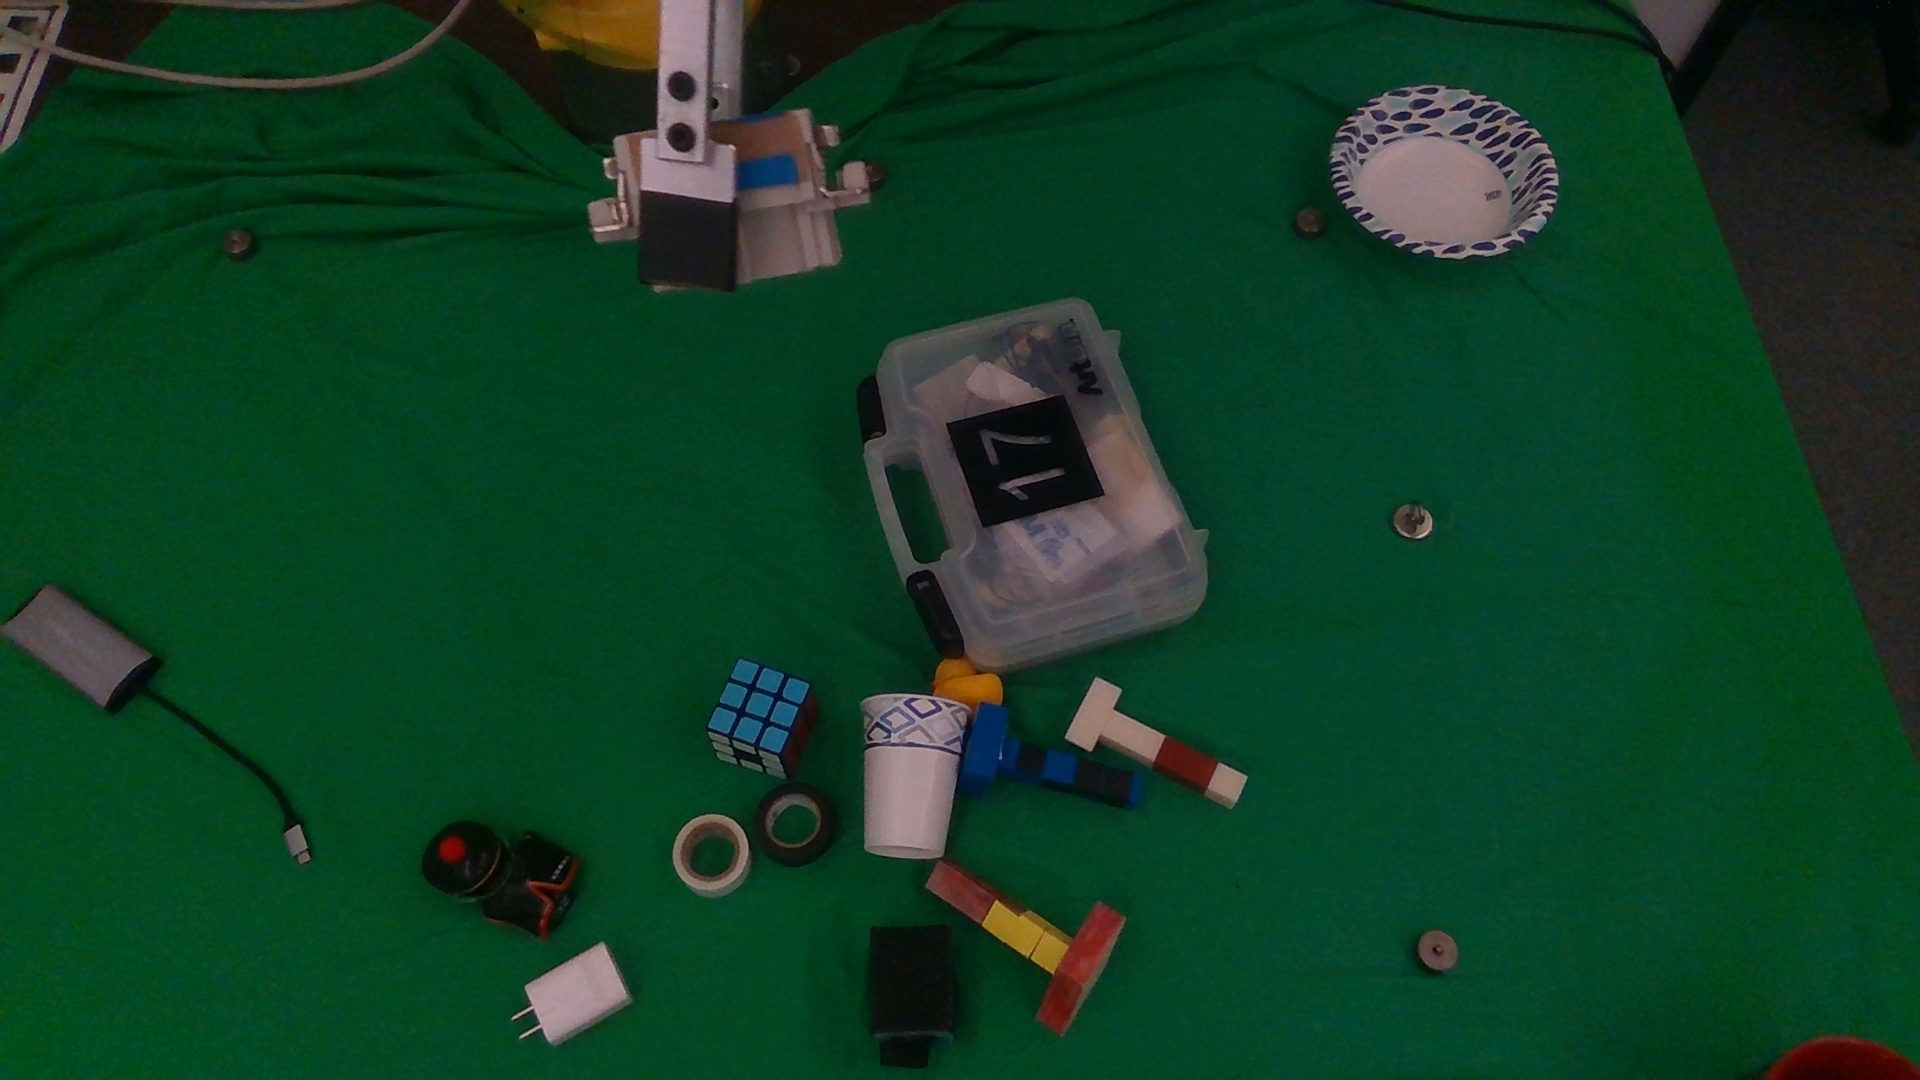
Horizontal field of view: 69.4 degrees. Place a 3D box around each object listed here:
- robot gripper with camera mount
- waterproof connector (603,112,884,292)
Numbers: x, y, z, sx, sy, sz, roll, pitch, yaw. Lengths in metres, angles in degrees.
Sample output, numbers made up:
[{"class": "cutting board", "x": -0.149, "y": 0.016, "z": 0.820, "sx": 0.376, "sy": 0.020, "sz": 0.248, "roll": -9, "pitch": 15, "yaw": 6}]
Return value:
[{"class": "robot gripper with camera mount", "x": -0.125, "y": -0.140, "z": 0.307, "sx": 0.193, "sy": 0.119, "sz": 0.158, "roll": 1, "pitch": 101, "yaw": -4}, {"class": "waterproof connector", "x": -0.051, "y": -0.080, "z": 0.329, "sx": 0.065, "sy": 0.035, "sz": 0.037, "roll": -8, "pitch": 106, "yaw": -3}]
